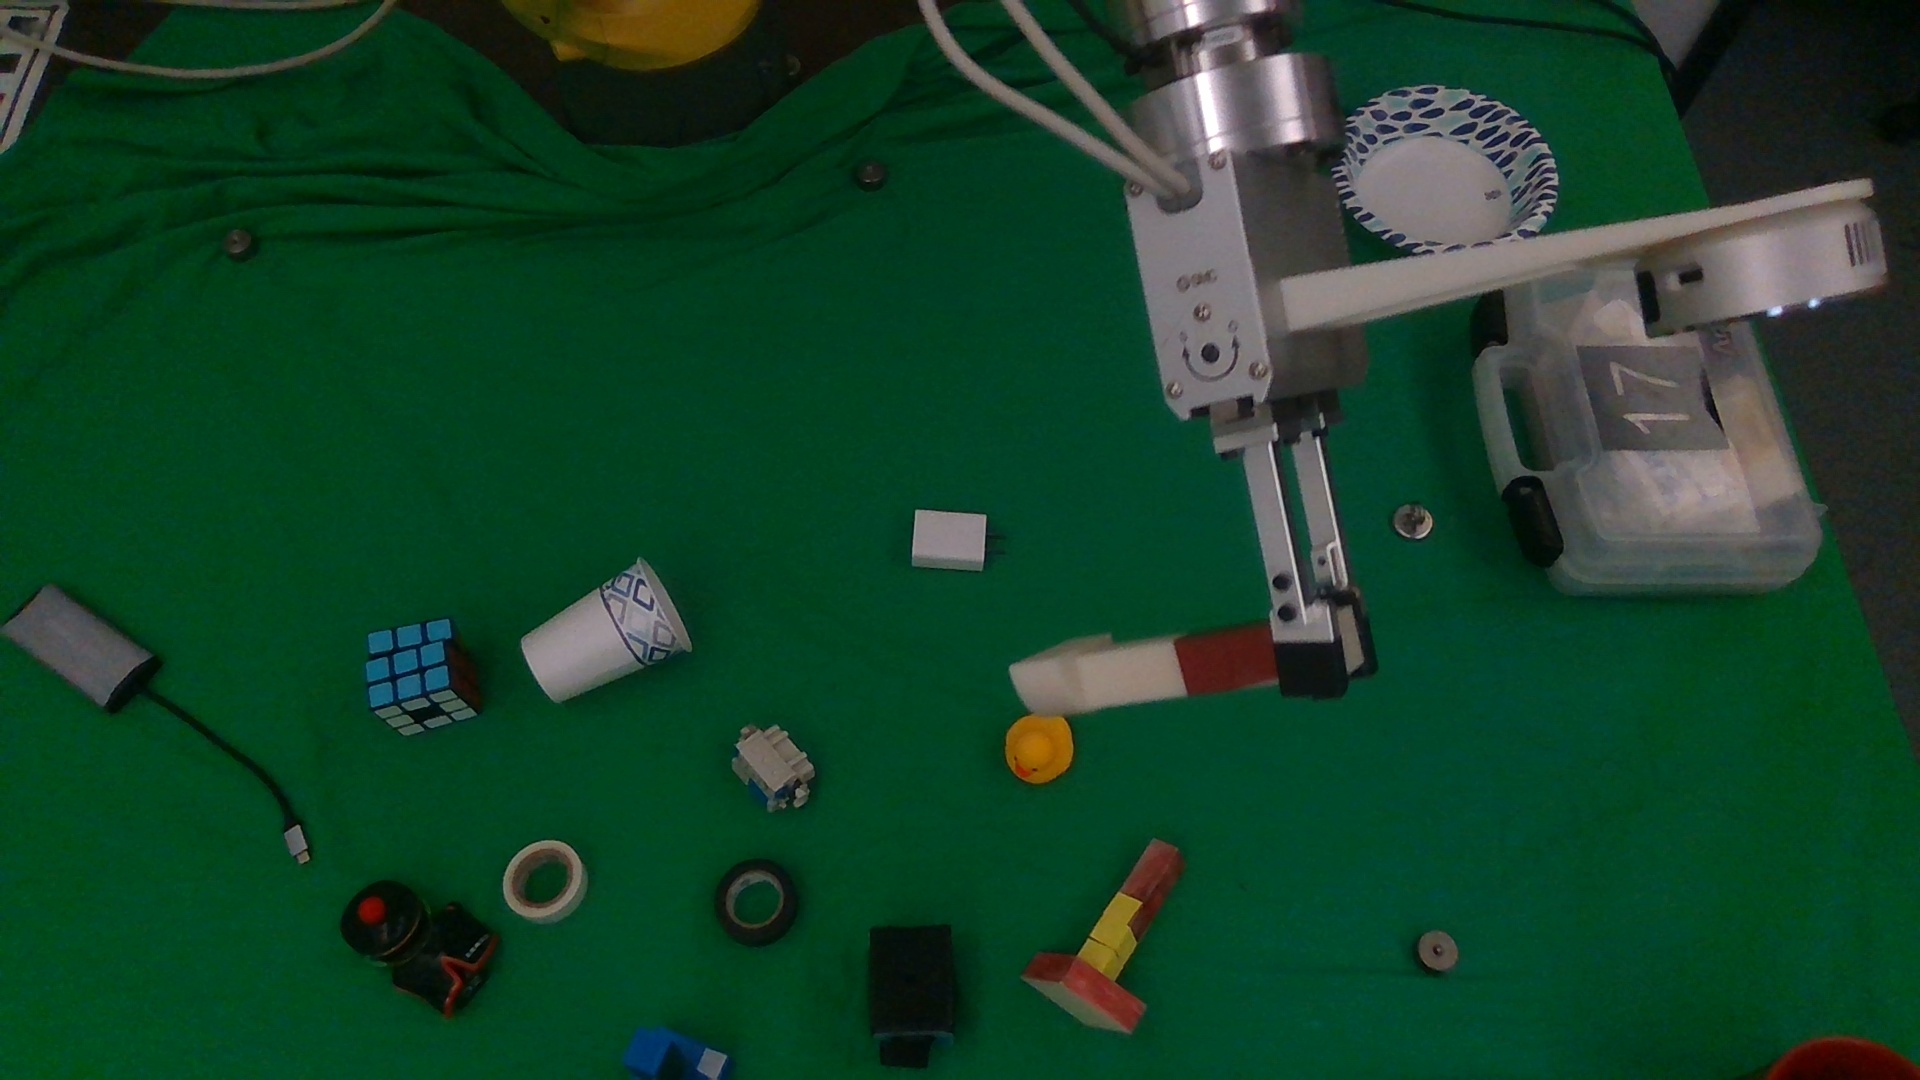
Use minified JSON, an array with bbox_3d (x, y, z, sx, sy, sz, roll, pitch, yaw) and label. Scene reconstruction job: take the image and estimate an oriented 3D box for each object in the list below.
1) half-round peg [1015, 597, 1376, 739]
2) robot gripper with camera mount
[{"bbox_3d":[0.083,0.044,0.488,0.122,0.054,0.031,-16,93,31],"label":"half-round peg"},{"bbox_3d":[0.174,-0.042,0.422,0.194,0.118,0.158,-13,91,32],"label":"robot gripper with camera mount"}]
